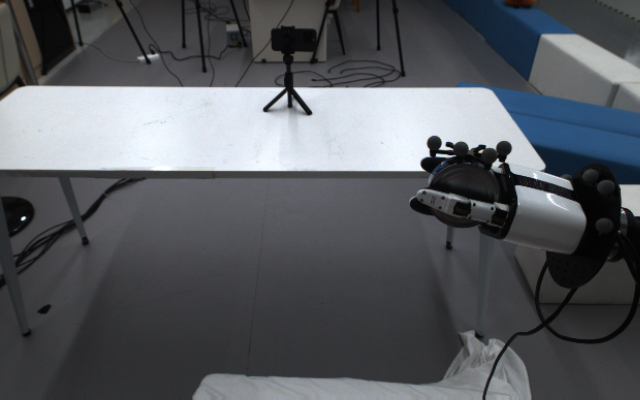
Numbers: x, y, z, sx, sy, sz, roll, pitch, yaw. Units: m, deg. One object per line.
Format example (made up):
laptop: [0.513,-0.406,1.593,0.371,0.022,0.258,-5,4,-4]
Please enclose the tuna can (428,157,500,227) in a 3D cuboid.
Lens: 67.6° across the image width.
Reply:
tuna can: [0.177,-0.013,0.601,0.085,0.085,0.034,9,24,10]
